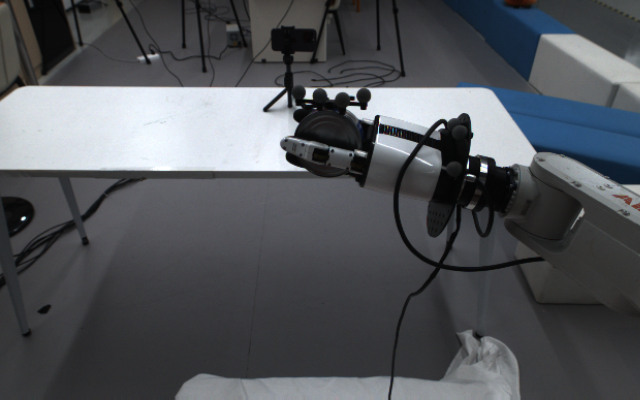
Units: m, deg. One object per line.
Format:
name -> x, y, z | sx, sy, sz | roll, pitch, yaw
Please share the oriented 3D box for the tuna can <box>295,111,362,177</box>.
tuna can -> 0.013, -0.074, 0.606 | 0.085, 0.085, 0.034 | 9, 23, 10
